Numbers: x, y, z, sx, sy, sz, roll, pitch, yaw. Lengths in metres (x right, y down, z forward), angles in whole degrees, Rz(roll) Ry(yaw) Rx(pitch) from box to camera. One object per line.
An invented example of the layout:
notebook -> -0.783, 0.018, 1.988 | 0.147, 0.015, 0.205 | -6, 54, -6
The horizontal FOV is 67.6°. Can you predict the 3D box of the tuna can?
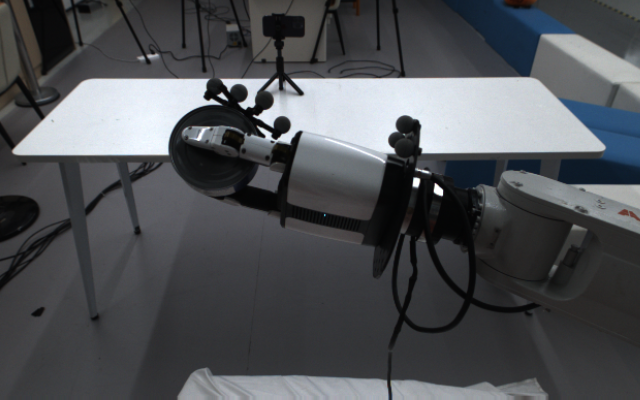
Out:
tuna can -> -0.100, -0.048, 0.479 | 0.085, 0.034, 0.085 | 1, 75, -4
